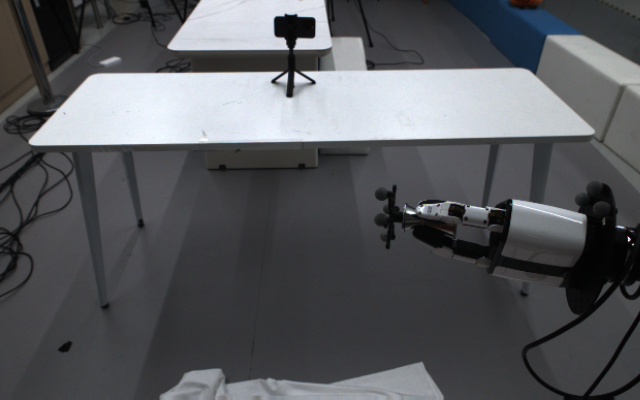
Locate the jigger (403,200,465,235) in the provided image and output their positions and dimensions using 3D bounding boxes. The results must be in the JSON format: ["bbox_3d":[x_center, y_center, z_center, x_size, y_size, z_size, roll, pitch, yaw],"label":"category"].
[{"bbox_3d":[0.152,0.022,0.638,0.071,0.043,0.043,4,34,17],"label":"jigger"}]
